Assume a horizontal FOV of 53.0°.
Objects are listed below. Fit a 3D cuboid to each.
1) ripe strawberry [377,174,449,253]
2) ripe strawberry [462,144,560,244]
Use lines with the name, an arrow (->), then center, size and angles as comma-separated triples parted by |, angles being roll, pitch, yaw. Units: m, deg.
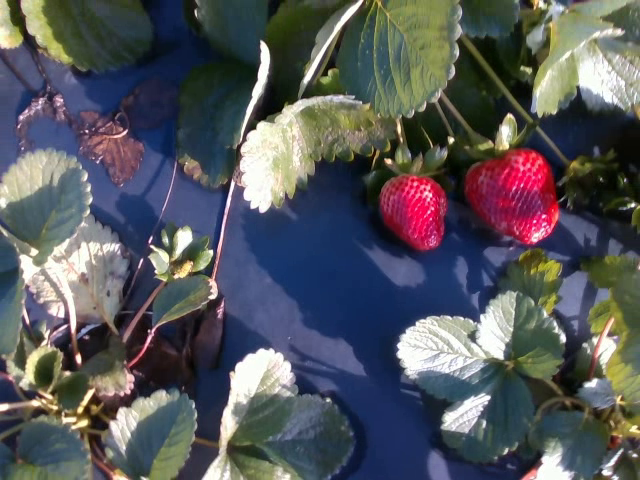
ripe strawberry -> 0.050, -0.012, 0.337 | 0.043, 0.052, 0.036 | -37, -30, 23
ripe strawberry -> 0.106, -0.020, 0.336 | 0.052, 0.058, 0.046 | -28, -29, 20
